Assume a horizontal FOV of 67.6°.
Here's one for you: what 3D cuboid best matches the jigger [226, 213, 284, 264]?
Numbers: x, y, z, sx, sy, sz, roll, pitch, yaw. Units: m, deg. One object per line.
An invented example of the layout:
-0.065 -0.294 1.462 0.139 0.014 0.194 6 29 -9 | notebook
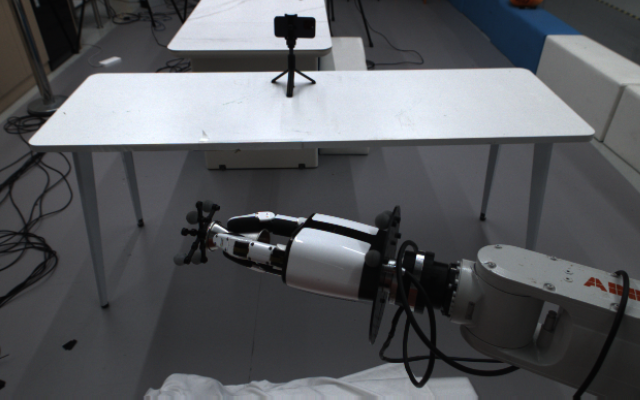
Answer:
-0.096 0.048 0.597 0.071 0.043 0.043 10 35 16 | jigger
